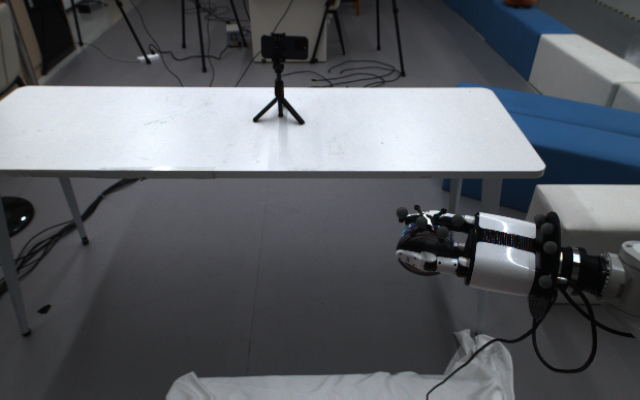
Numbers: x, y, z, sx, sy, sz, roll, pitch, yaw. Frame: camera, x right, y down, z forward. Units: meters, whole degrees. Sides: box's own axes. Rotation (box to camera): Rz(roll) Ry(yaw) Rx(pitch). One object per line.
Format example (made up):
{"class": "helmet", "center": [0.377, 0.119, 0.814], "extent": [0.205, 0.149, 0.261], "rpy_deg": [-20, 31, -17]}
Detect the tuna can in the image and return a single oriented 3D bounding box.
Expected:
{"class": "tuna can", "center": [0.162, 0.069, 0.738], "extent": [0.085, 0.085, 0.034], "rpy_deg": [10, 33, 11]}
